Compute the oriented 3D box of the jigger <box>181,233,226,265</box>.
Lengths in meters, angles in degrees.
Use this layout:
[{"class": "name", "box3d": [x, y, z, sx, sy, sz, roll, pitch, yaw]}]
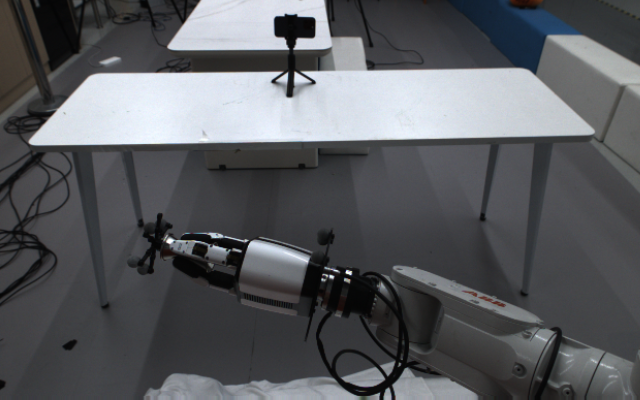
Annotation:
[{"class": "jigger", "box3d": [-0.175, 0.070, 0.673, 0.071, 0.043, 0.043, 13, 36, 4]}]
